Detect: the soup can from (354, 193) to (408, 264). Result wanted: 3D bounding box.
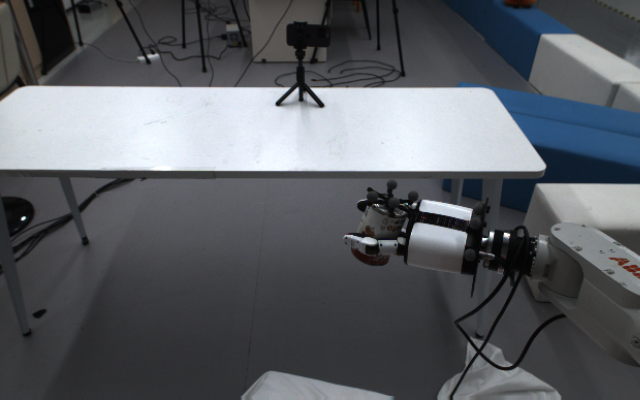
[{"bbox_3d":[0.098,0.048,0.791,0.067,0.101,0.067,13,30,-8],"label":"soup can"}]
